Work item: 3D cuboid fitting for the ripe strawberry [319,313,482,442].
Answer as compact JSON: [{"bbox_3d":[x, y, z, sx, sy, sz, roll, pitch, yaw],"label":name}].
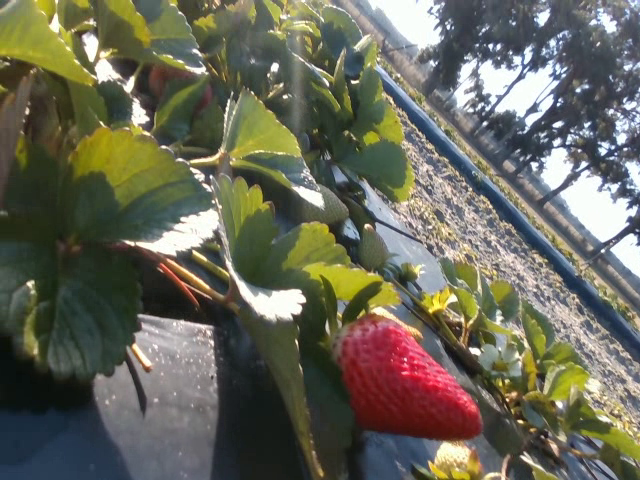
[{"bbox_3d":[0.034,0.056,0.247,0.072,0.057,0.055,29,-33,17],"label":"ripe strawberry"}]
